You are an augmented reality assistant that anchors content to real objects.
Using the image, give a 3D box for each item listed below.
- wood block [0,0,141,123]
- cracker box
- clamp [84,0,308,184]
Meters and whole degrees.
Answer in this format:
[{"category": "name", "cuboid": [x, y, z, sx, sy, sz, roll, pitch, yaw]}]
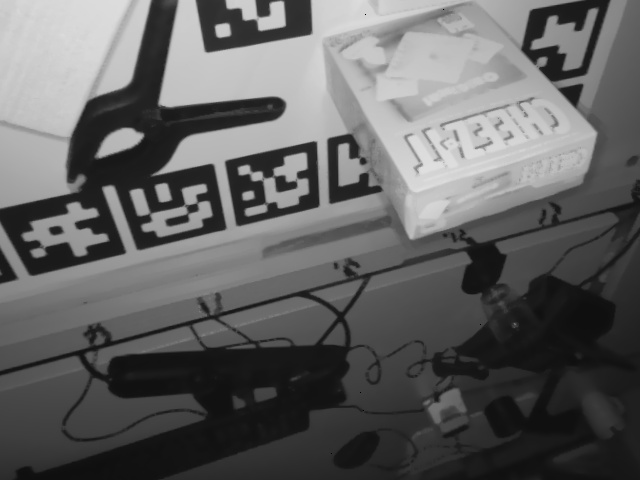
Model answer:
[{"category": "wood block", "cuboid": [-0.174, -0.197, 0.485, 0.091, 0.091, 0.203, 11, 130, -36]}, {"category": "cracker box", "cuboid": [0.123, -0.122, 0.594, 0.165, 0.214, 0.071, -16, 138, -6]}, {"category": "clamp", "cuboid": [-0.134, -0.120, 0.615, 0.201, 0.037, 0.166, -37, 136, 12]}]
